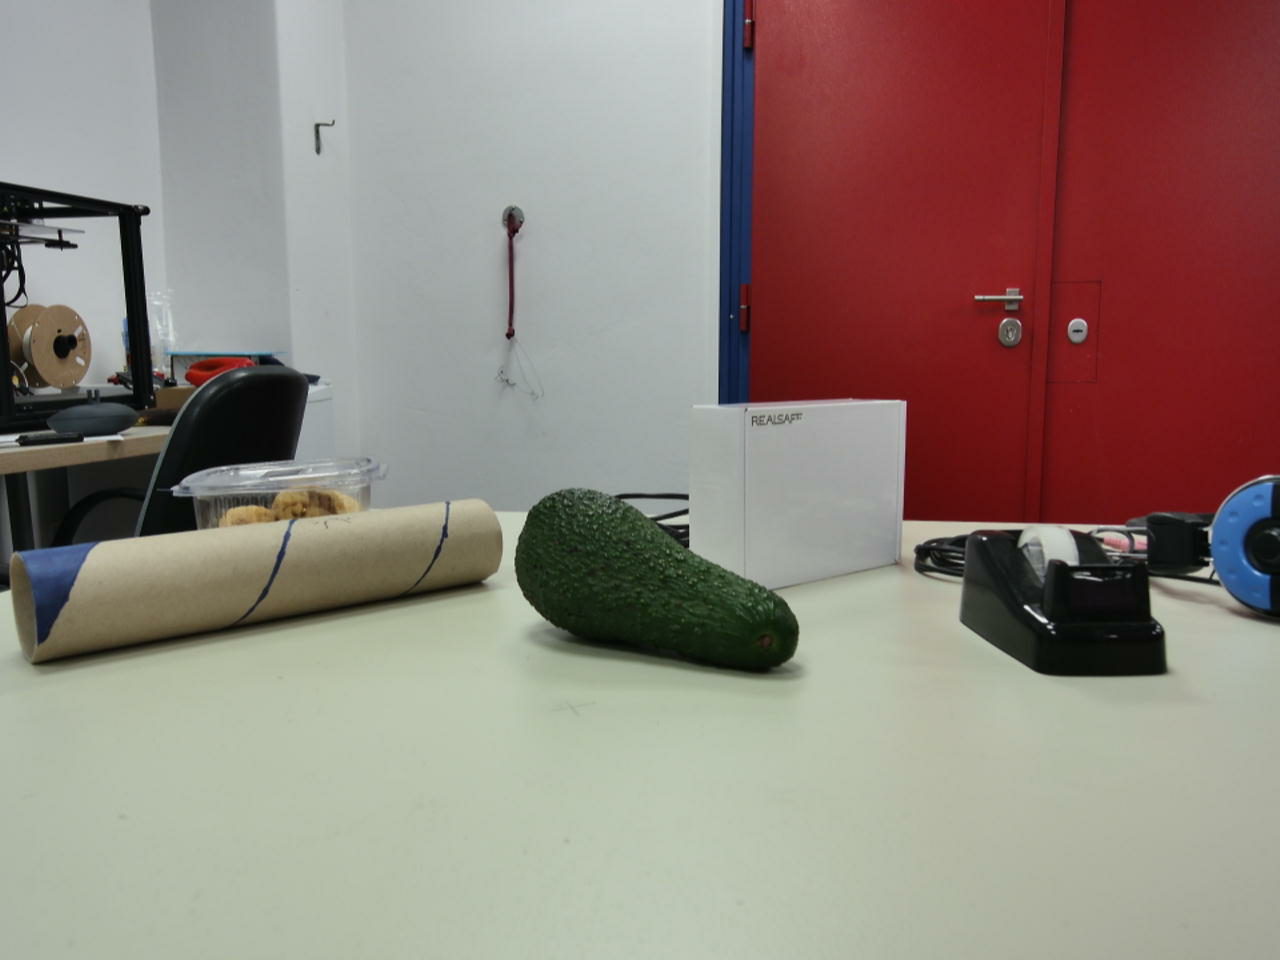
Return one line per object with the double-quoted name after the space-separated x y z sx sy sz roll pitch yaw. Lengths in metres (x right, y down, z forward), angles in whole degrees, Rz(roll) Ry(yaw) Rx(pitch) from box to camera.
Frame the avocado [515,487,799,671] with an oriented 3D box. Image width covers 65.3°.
0.007 0.038 0.426 0.141 0.067 0.063 3 4 28 "avocado"
